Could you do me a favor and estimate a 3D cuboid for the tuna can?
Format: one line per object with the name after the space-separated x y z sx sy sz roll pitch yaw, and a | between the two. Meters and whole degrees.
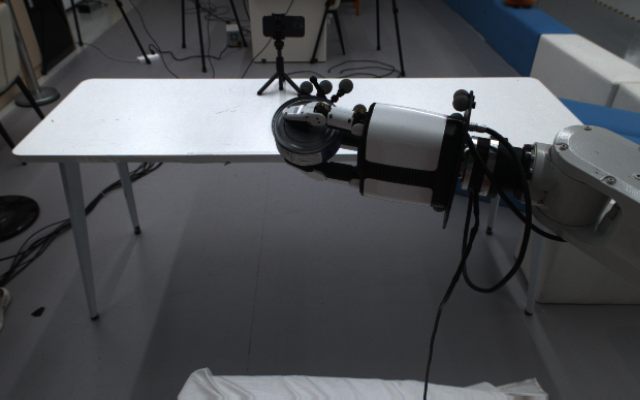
-0.015 -0.086 0.597 0.085 0.034 0.085 -2 60 3 | tuna can
